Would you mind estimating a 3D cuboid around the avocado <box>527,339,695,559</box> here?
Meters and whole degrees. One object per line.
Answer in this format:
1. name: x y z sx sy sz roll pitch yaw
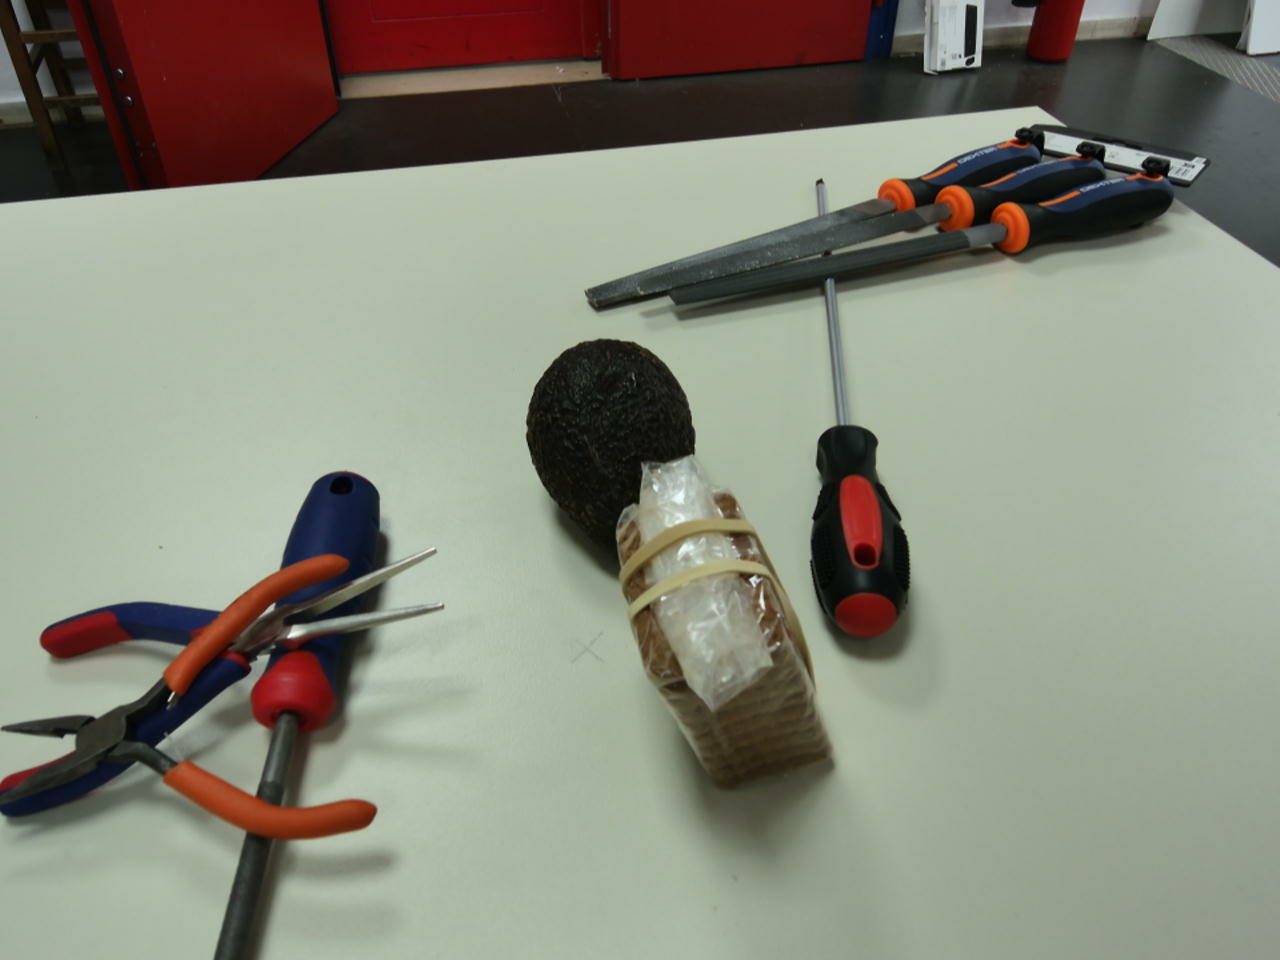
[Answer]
1. avocado: -0.013 -0.017 0.408 0.070 0.069 0.090 7 39 9
